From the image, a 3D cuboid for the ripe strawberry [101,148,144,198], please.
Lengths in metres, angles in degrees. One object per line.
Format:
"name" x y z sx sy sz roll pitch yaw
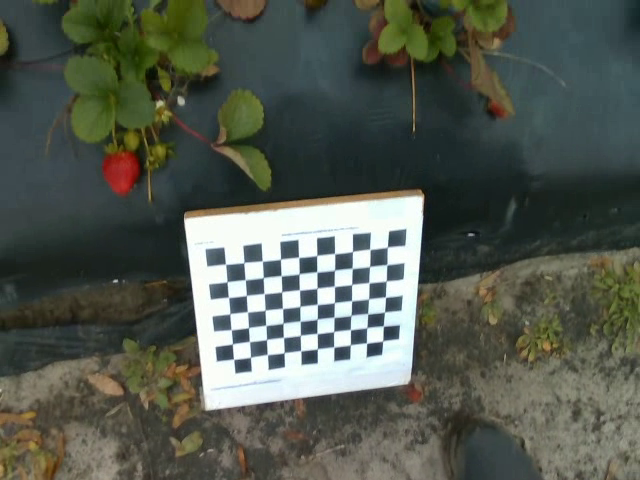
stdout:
"ripe strawberry" -0.079 -0.027 1.365 0.018 0.017 0.014 -3 -24 0
